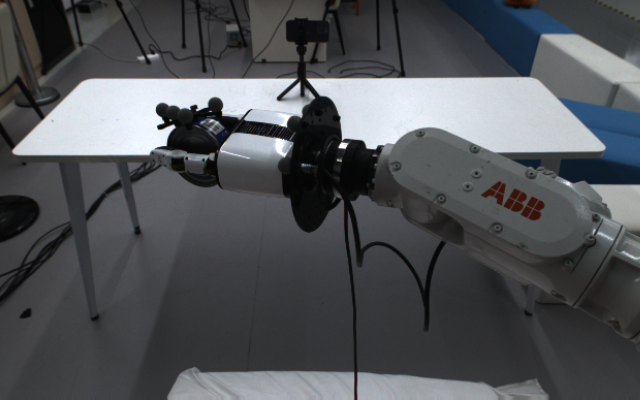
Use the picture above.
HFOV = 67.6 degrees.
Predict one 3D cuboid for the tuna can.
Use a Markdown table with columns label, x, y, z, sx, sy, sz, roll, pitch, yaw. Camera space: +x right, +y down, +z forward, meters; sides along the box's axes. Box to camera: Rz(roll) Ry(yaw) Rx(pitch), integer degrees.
| label | x | y | z | sx | sy | sz | roll | pitch | yaw |
| --- | --- | --- | --- | --- | --- | --- | --- | --- | --- |
| tuna can | -0.147 | -0.060 | 0.614 | 0.085 | 0.085 | 0.034 | 14 | 33 | 16 |
